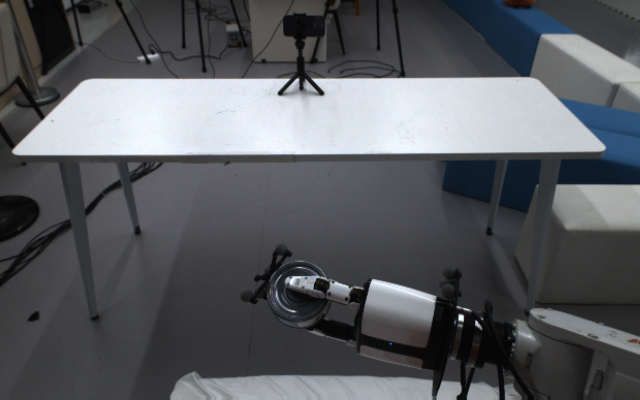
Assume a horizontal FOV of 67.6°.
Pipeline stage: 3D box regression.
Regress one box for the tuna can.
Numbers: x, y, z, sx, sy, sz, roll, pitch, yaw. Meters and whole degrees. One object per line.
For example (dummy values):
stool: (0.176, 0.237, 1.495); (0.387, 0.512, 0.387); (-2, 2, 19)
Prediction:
tuna can: (-0.024, 0.130, 0.644); (0.085, 0.034, 0.085); (-1, 61, 1)
